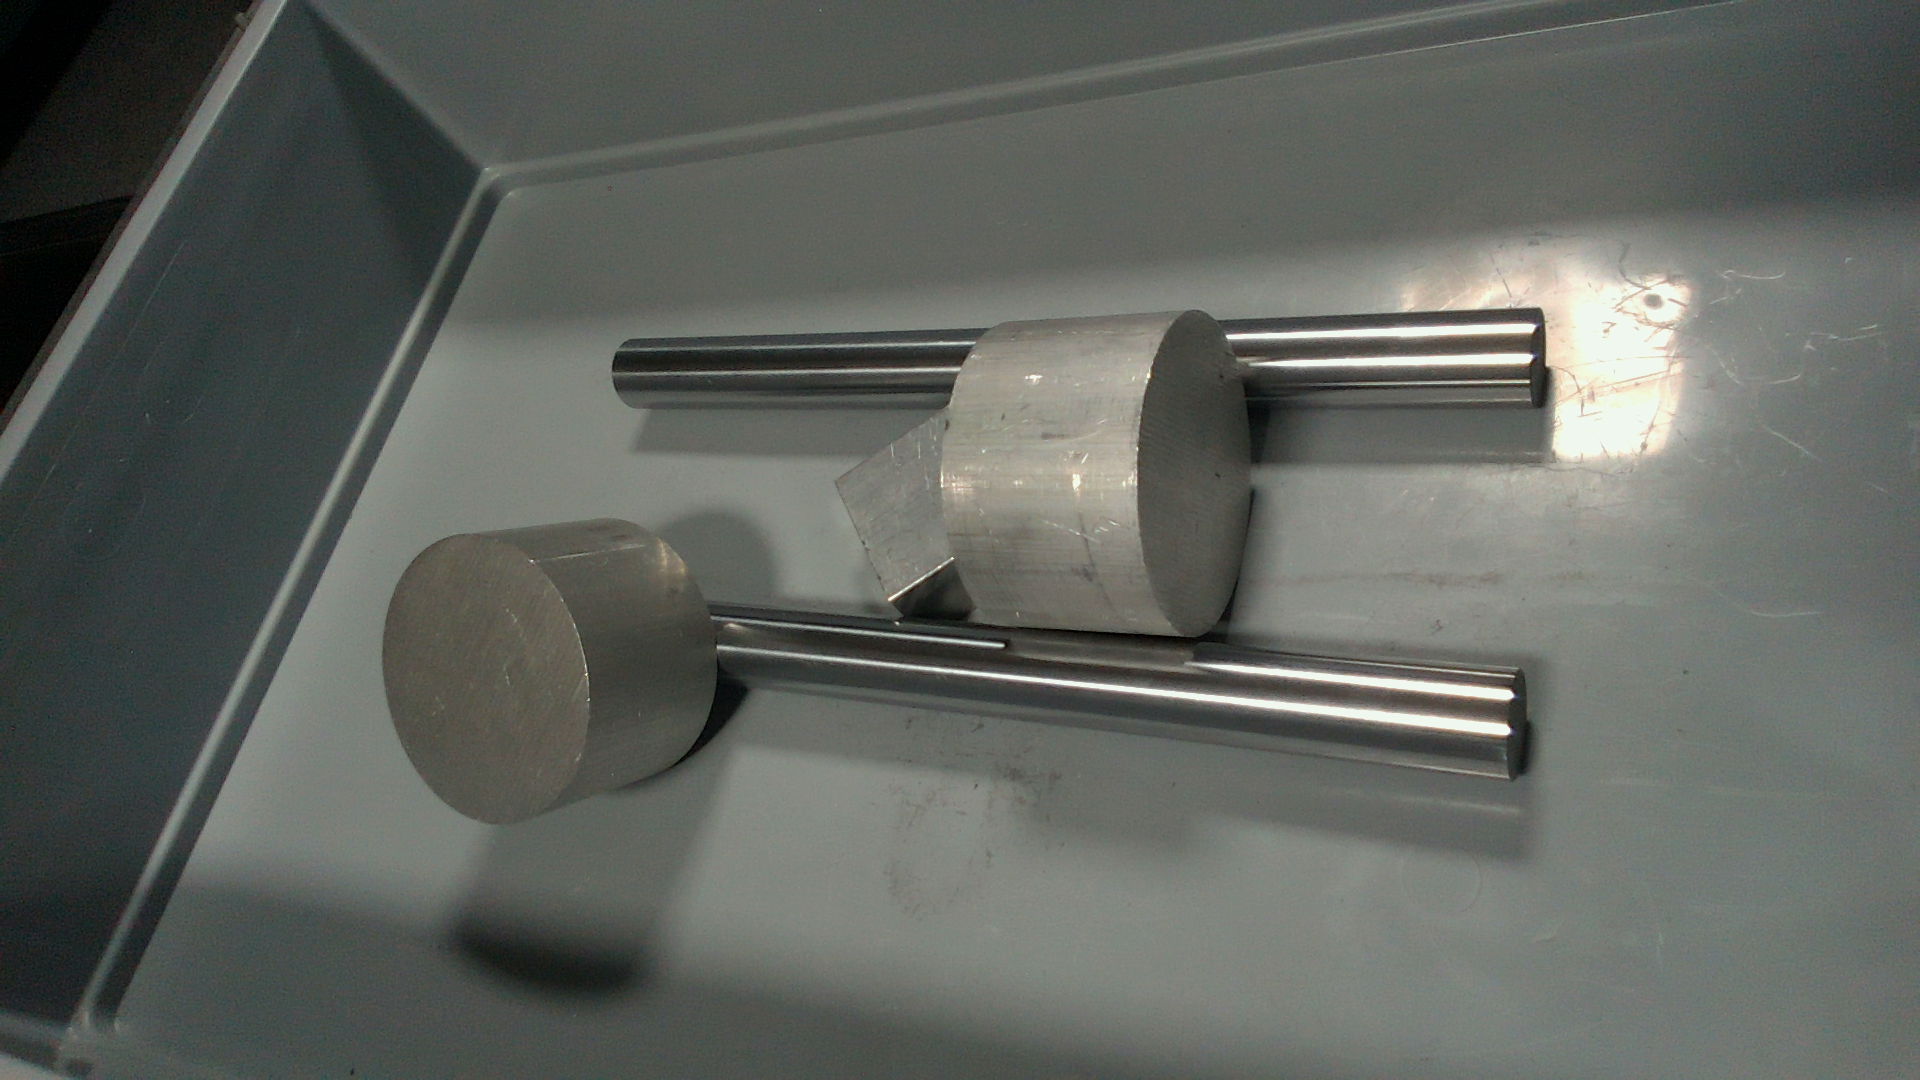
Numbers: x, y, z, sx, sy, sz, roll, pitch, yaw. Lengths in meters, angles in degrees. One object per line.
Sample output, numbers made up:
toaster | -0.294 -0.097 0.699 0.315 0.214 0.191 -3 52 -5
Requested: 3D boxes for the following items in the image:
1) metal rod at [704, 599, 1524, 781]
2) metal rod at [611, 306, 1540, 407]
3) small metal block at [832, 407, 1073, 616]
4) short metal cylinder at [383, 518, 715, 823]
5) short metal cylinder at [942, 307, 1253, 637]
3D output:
metal rod | -0.008 0.034 0.375 0.299 0.025 0.025 3 63 30
metal rod | 0.014 -0.053 0.417 0.299 0.025 0.025 3 63 30
small metal block | -0.003 -0.008 0.399 0.050 0.025 0.050 -33 51 7
short metal cylinder | -0.118 0.035 0.396 0.080 0.050 0.080 4 98 30
short metal cylinder | 0.037 -0.017 0.347 0.050 0.080 0.080 2 62 29
